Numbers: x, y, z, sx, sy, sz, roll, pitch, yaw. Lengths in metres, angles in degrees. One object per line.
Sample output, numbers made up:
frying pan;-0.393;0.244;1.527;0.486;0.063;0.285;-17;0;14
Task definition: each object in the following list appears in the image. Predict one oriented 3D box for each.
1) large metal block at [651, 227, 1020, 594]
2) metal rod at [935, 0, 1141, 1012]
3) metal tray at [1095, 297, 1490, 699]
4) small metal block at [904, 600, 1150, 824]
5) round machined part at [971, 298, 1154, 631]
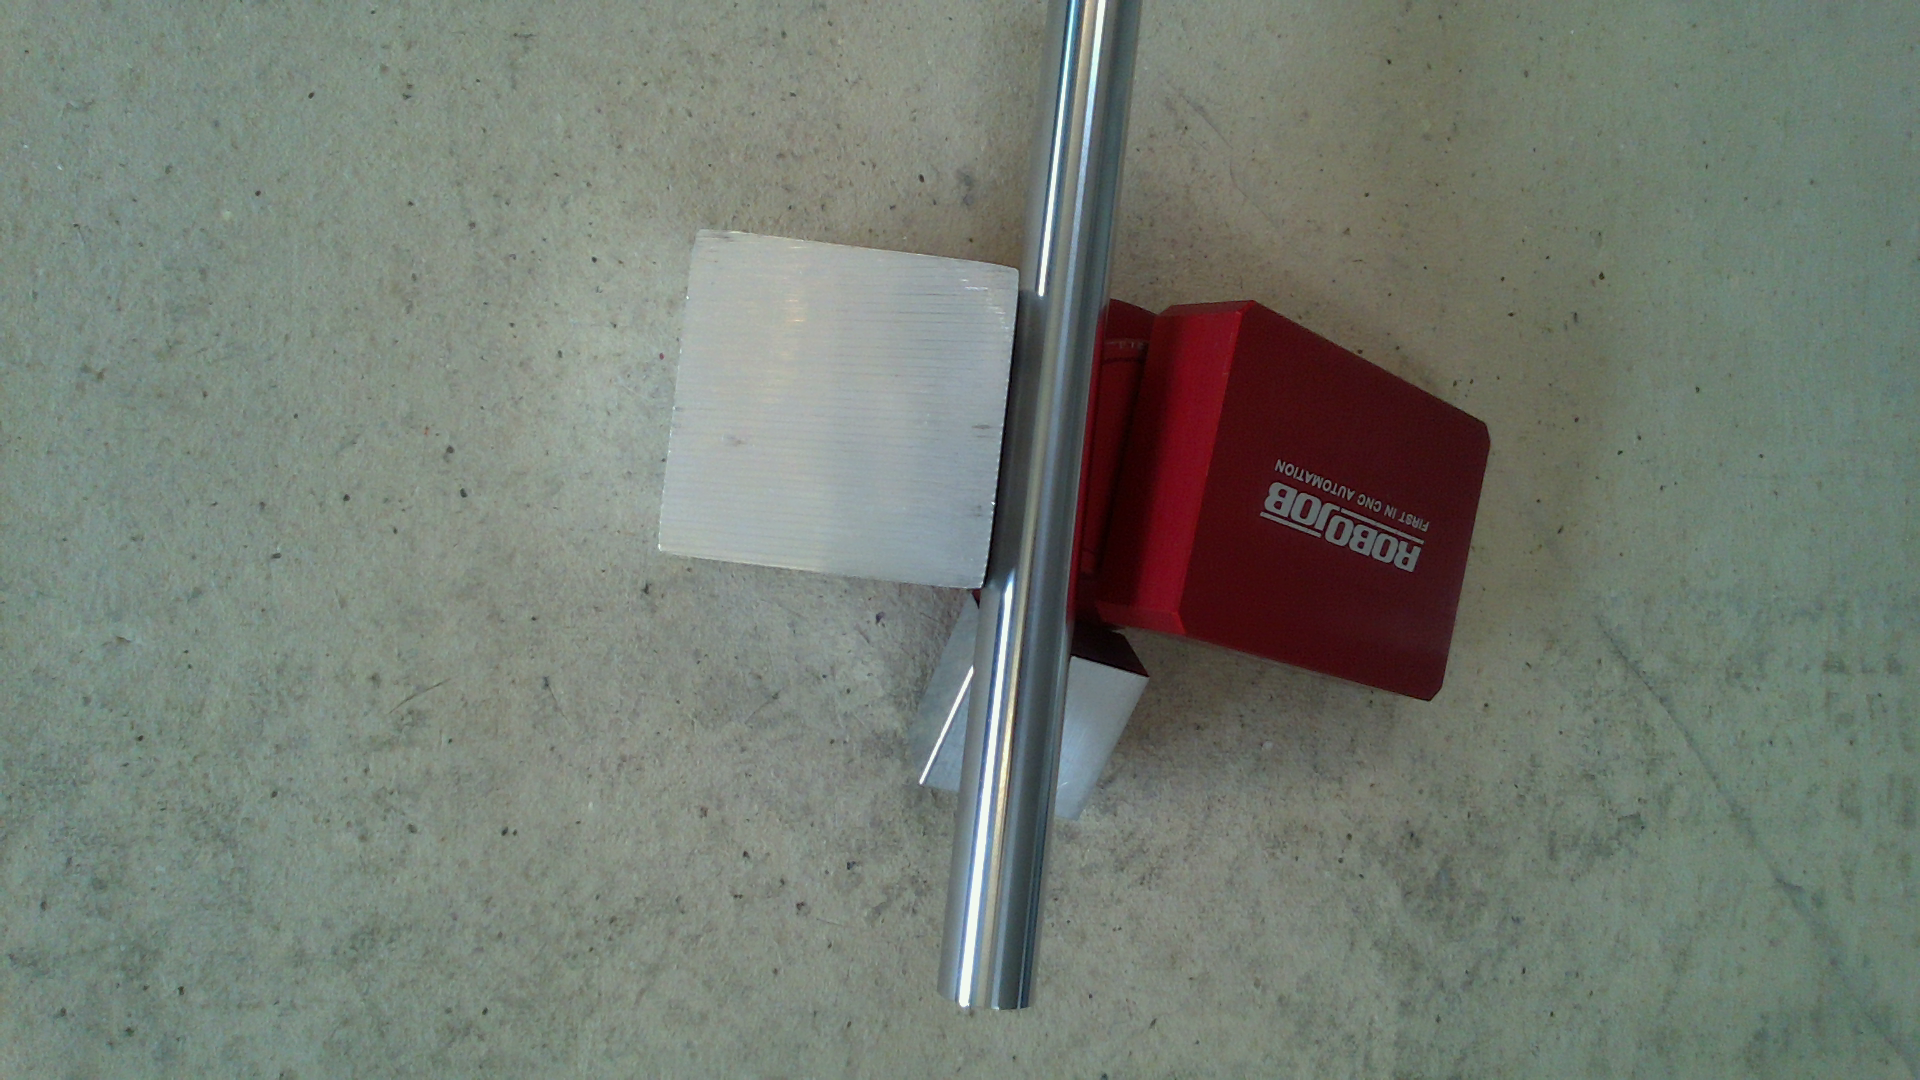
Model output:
large metal block;-0.030;-0.030;0.358;0.080;0.050;0.080;7;88;-2
metal rod;0.023;-0.034;0.357;0.025;0.025;0.300;8;85;-20
metal tray;0.102;-0.008;0.405;0.131;0.030;0.090;16;85;-40
small metal block;0.018;0.048;0.390;0.050;0.025;0.050;16;110;-19
round machined part;0.041;-0.022;0.399;0.098;0.042;0.098;0;90;-20
